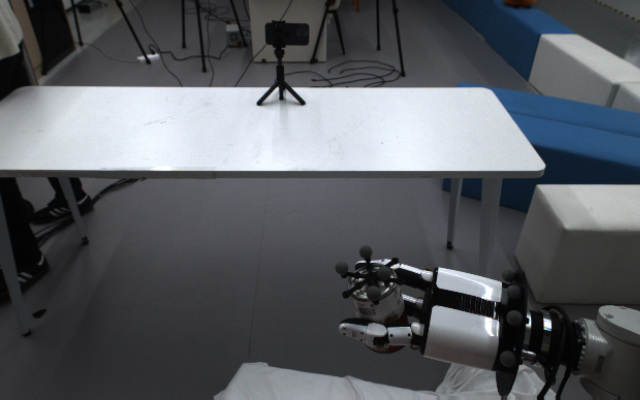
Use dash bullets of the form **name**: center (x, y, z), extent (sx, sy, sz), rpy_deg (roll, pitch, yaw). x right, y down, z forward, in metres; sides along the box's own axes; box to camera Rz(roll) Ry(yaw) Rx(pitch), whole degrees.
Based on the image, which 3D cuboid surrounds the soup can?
- **soup can**: center (0.082, 0.144, 0.642), extent (0.067, 0.101, 0.067), rpy_deg (-13, 31, 8)
